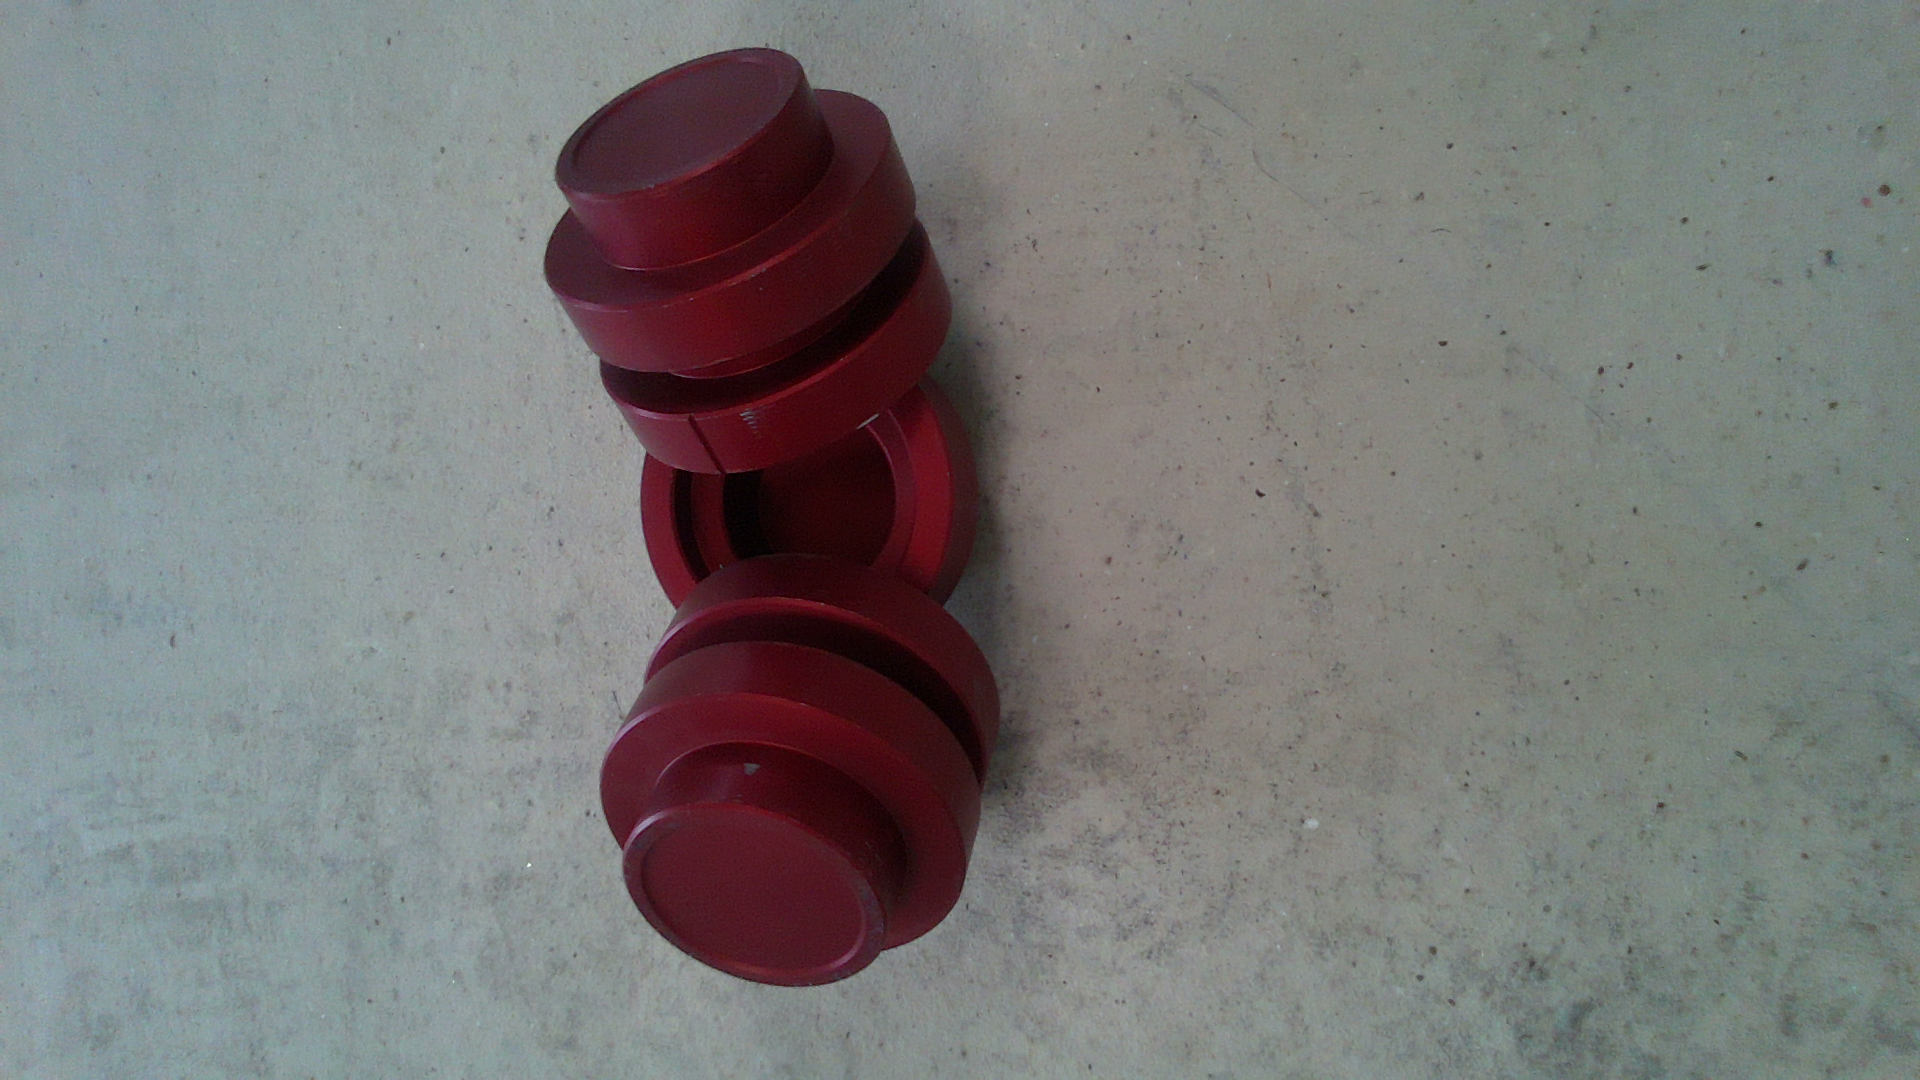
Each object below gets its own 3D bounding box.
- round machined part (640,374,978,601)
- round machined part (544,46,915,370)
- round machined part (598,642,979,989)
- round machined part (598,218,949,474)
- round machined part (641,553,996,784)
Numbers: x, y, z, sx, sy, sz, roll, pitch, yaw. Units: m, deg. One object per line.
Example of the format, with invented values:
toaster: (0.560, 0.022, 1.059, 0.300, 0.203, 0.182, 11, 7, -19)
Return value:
round machined part: (-0.040, -0.012, 0.403, 0.098, 0.042, 0.098, 0, 90, 20)
round machined part: (-0.064, -0.092, 0.359, 0.098, 0.042, 0.098, -13, 43, 13)
round machined part: (-0.047, 0.077, 0.353, 0.098, 0.042, 0.098, 7, 127, 10)
round machined part: (-0.055, -0.067, 0.377, 0.098, 0.042, 0.098, -13, 43, 13)
round machined part: (-0.041, 0.055, 0.376, 0.098, 0.042, 0.098, 7, 128, 10)
